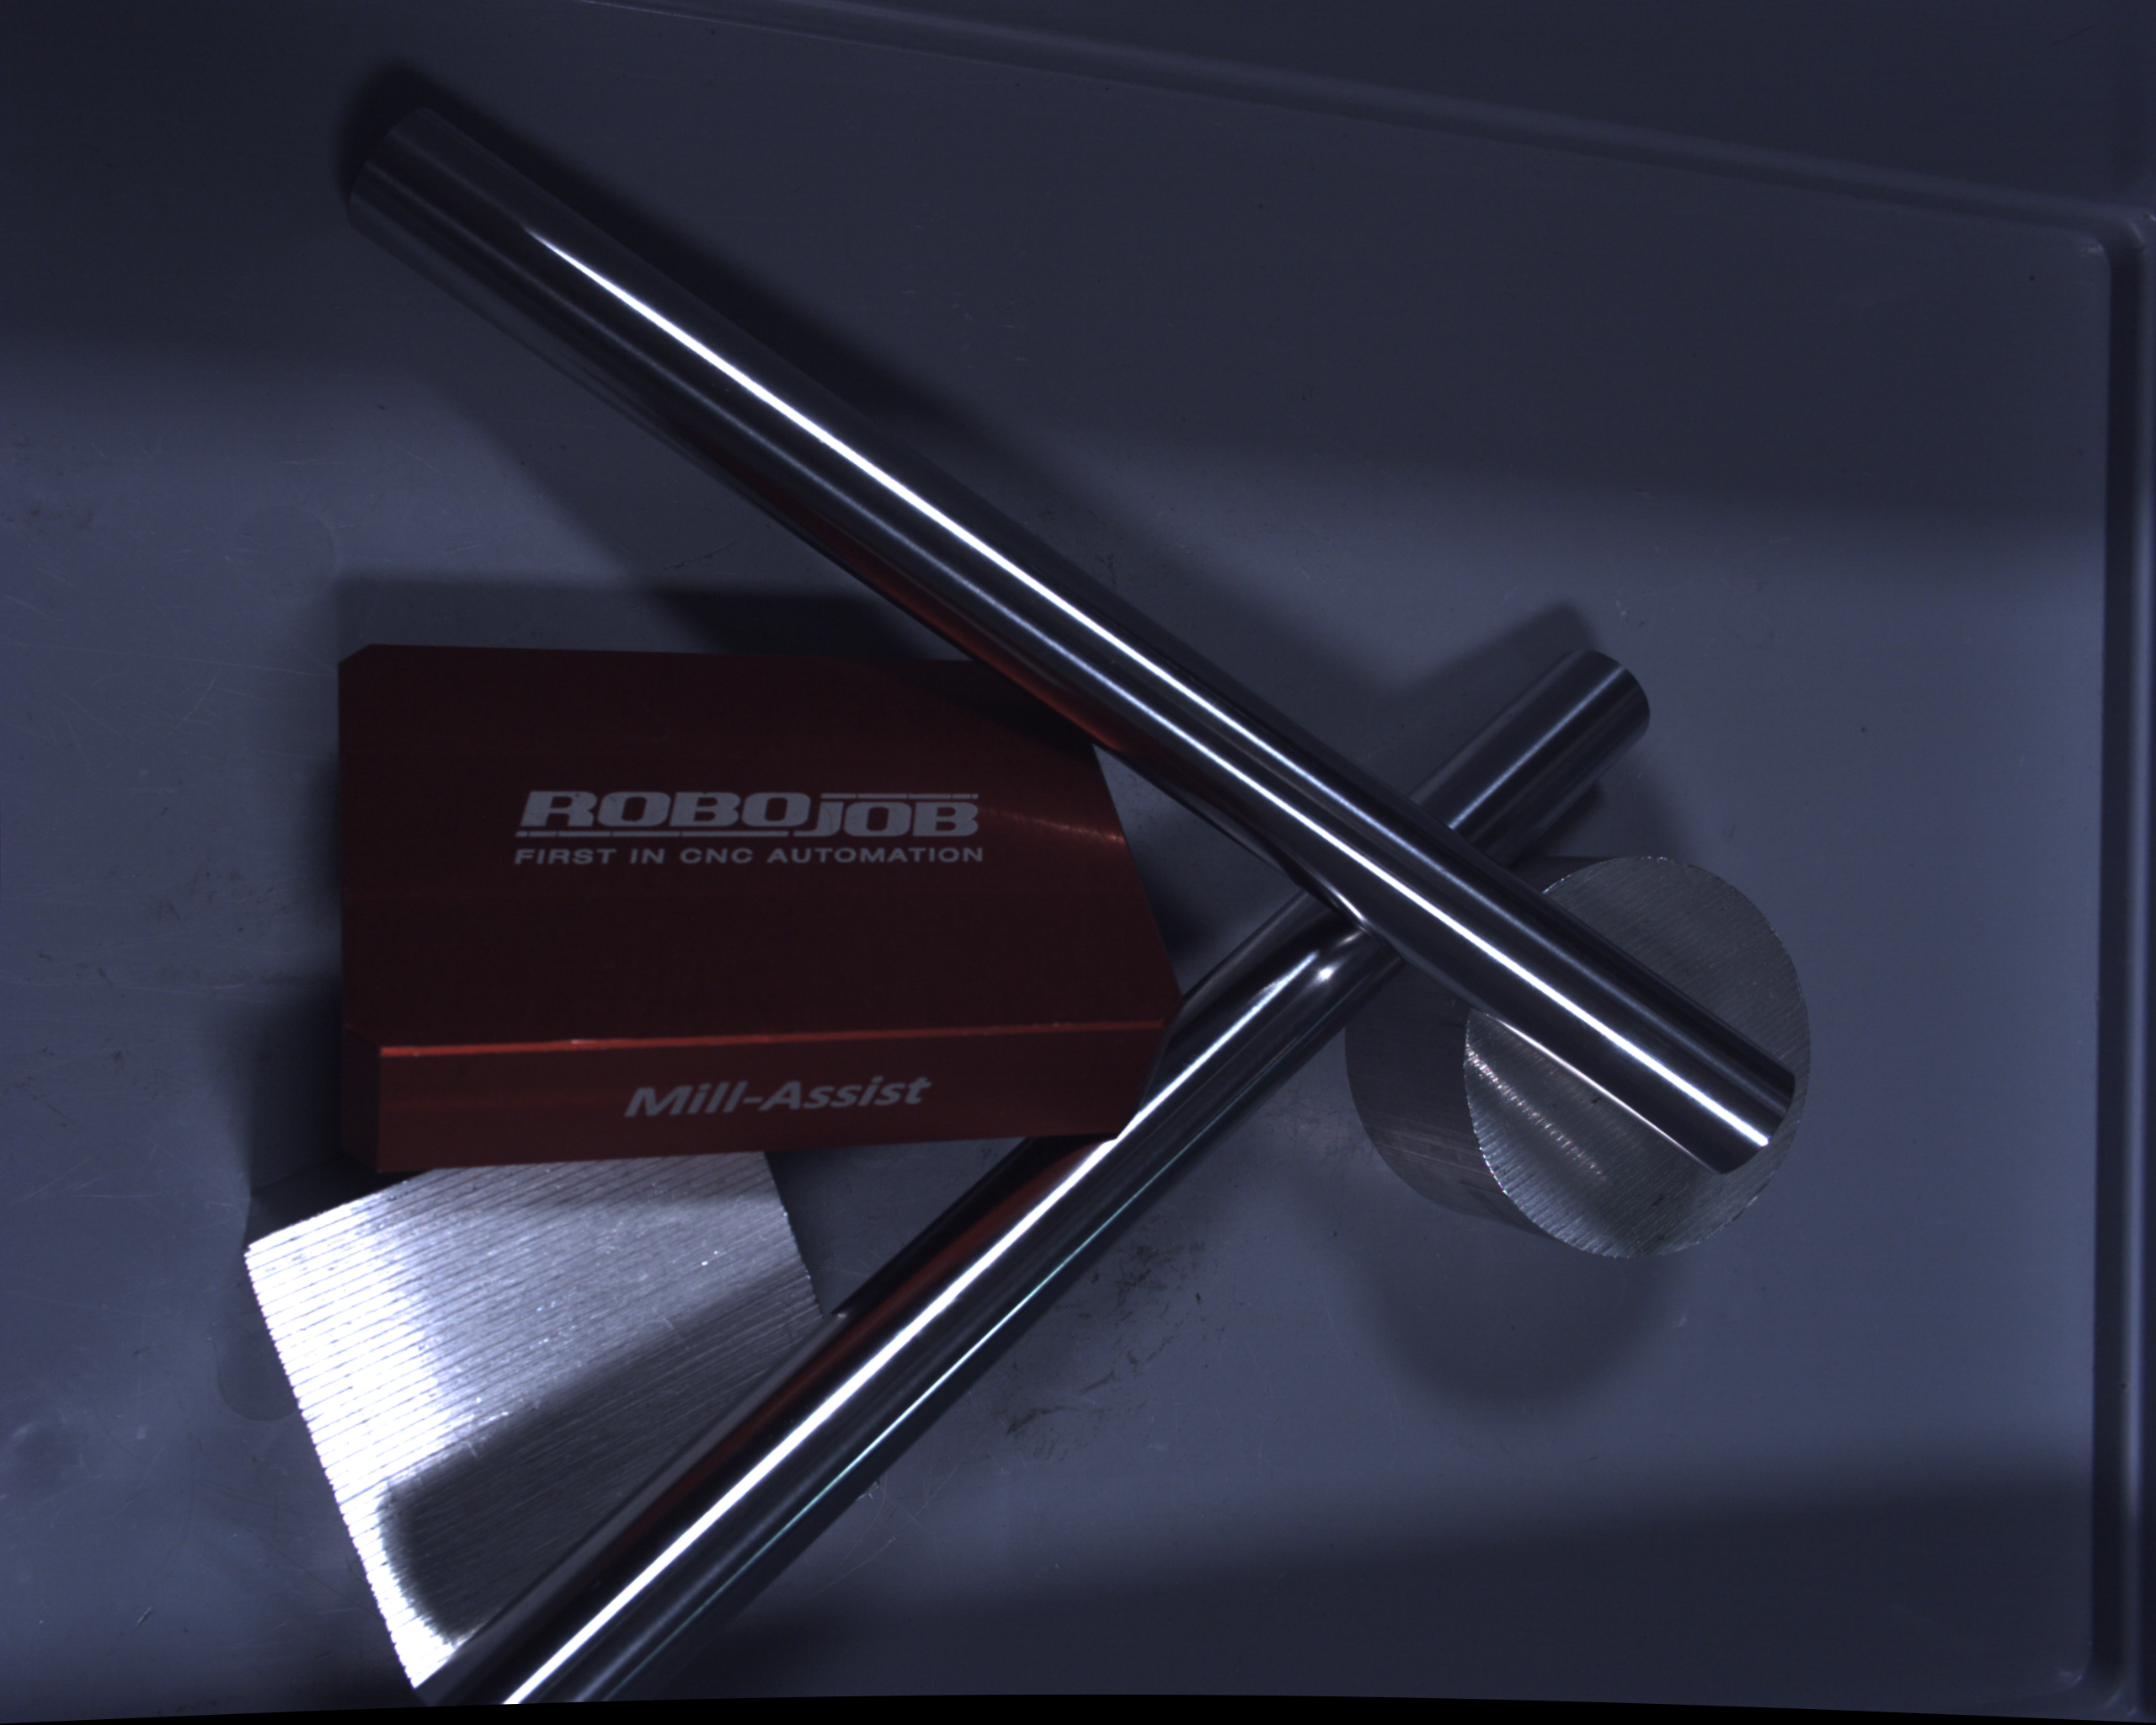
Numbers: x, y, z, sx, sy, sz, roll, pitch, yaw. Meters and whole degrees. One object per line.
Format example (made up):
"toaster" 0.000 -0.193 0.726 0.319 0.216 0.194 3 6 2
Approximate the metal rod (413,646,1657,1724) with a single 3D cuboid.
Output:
"metal rod" 0.013 0.047 0.376 0.302 0.025 0.025 -39 103 -30

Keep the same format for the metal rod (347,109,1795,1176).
"metal rod" 0.003 -0.037 0.380 0.301 0.025 0.025 35 78 -5

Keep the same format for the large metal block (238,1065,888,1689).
"large metal block" -0.089 0.083 0.360 0.081 0.050 0.080 -20 97 -19

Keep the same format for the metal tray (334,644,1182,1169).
"metal tray" -0.057 0.005 0.356 0.131 0.030 0.090 0 46 -19

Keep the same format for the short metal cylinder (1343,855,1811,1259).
"short metal cylinder" 0.103 0.038 0.434 0.081 0.050 0.079 0 90 -21
